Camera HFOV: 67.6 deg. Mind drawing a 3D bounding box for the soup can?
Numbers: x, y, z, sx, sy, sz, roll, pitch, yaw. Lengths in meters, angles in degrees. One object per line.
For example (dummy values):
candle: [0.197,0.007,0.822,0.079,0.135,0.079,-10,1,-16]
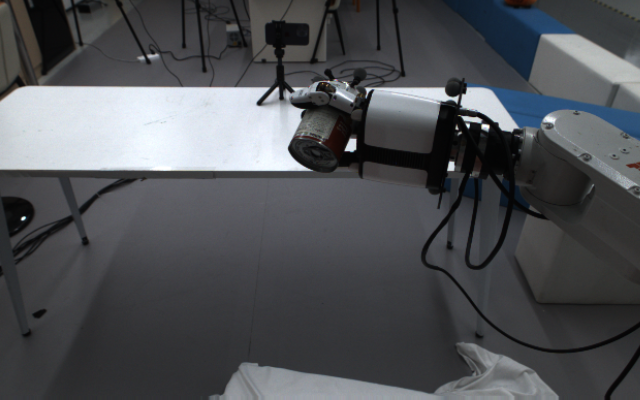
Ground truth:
soup can: [0.010,-0.097,0.622,0.067,0.067,0.101,15,63,18]
